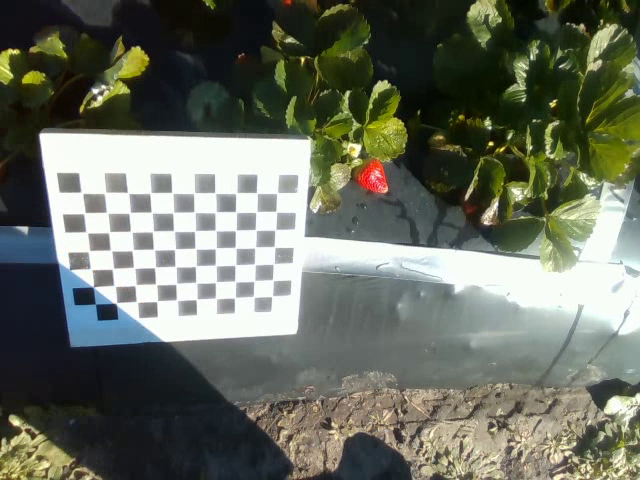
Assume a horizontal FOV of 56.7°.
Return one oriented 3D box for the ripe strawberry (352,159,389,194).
[{"bbox_3d":[0.071,-0.080,0.773,0.054,0.048,0.030,44,12,-26],"label":"ripe strawberry"}]
